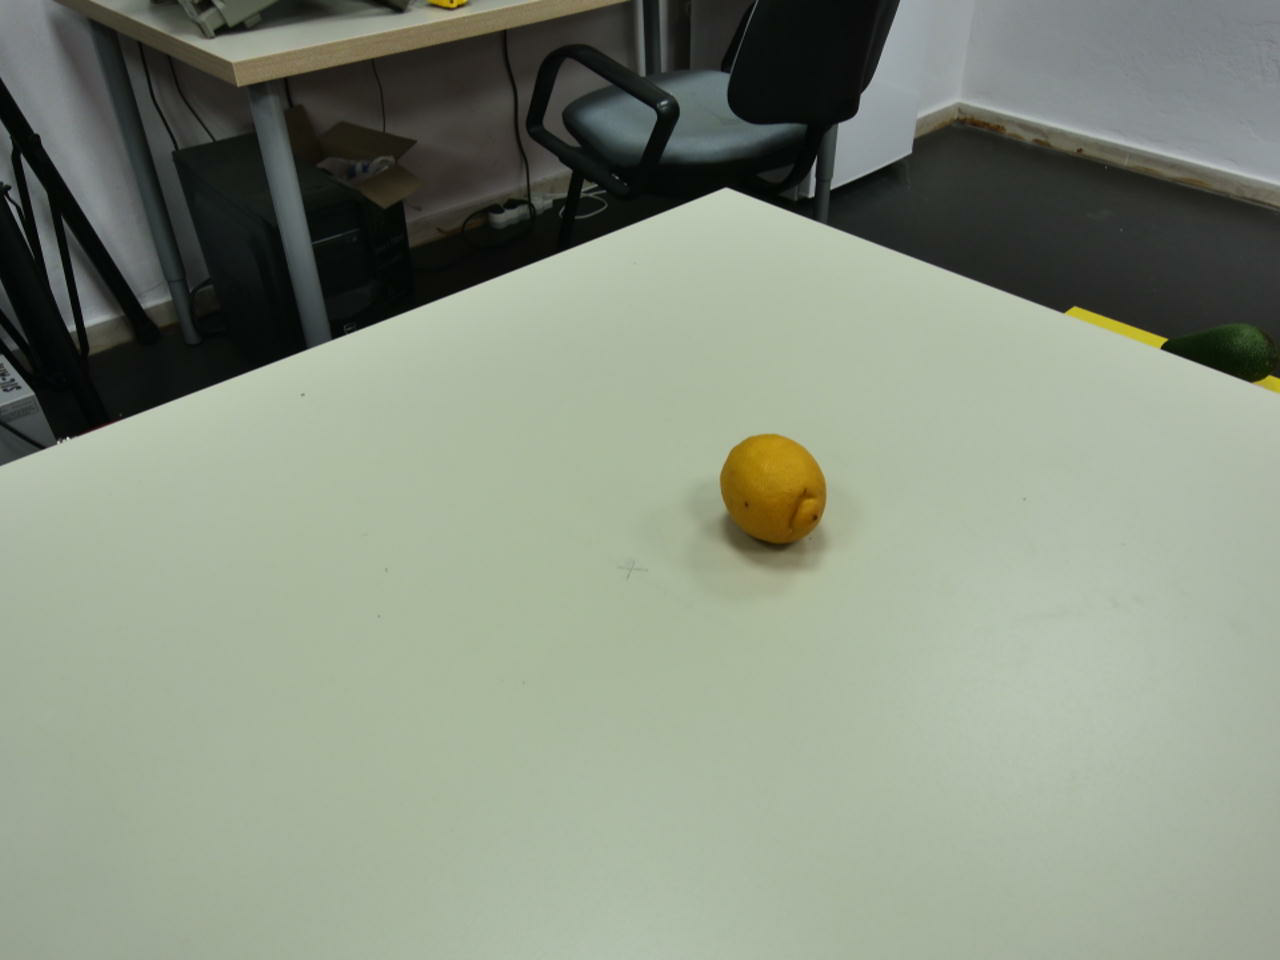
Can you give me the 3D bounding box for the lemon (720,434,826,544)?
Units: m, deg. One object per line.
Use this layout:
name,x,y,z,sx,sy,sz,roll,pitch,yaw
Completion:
lemon,0.077,0.006,0.585,0.061,0.059,0.066,0,36,1
